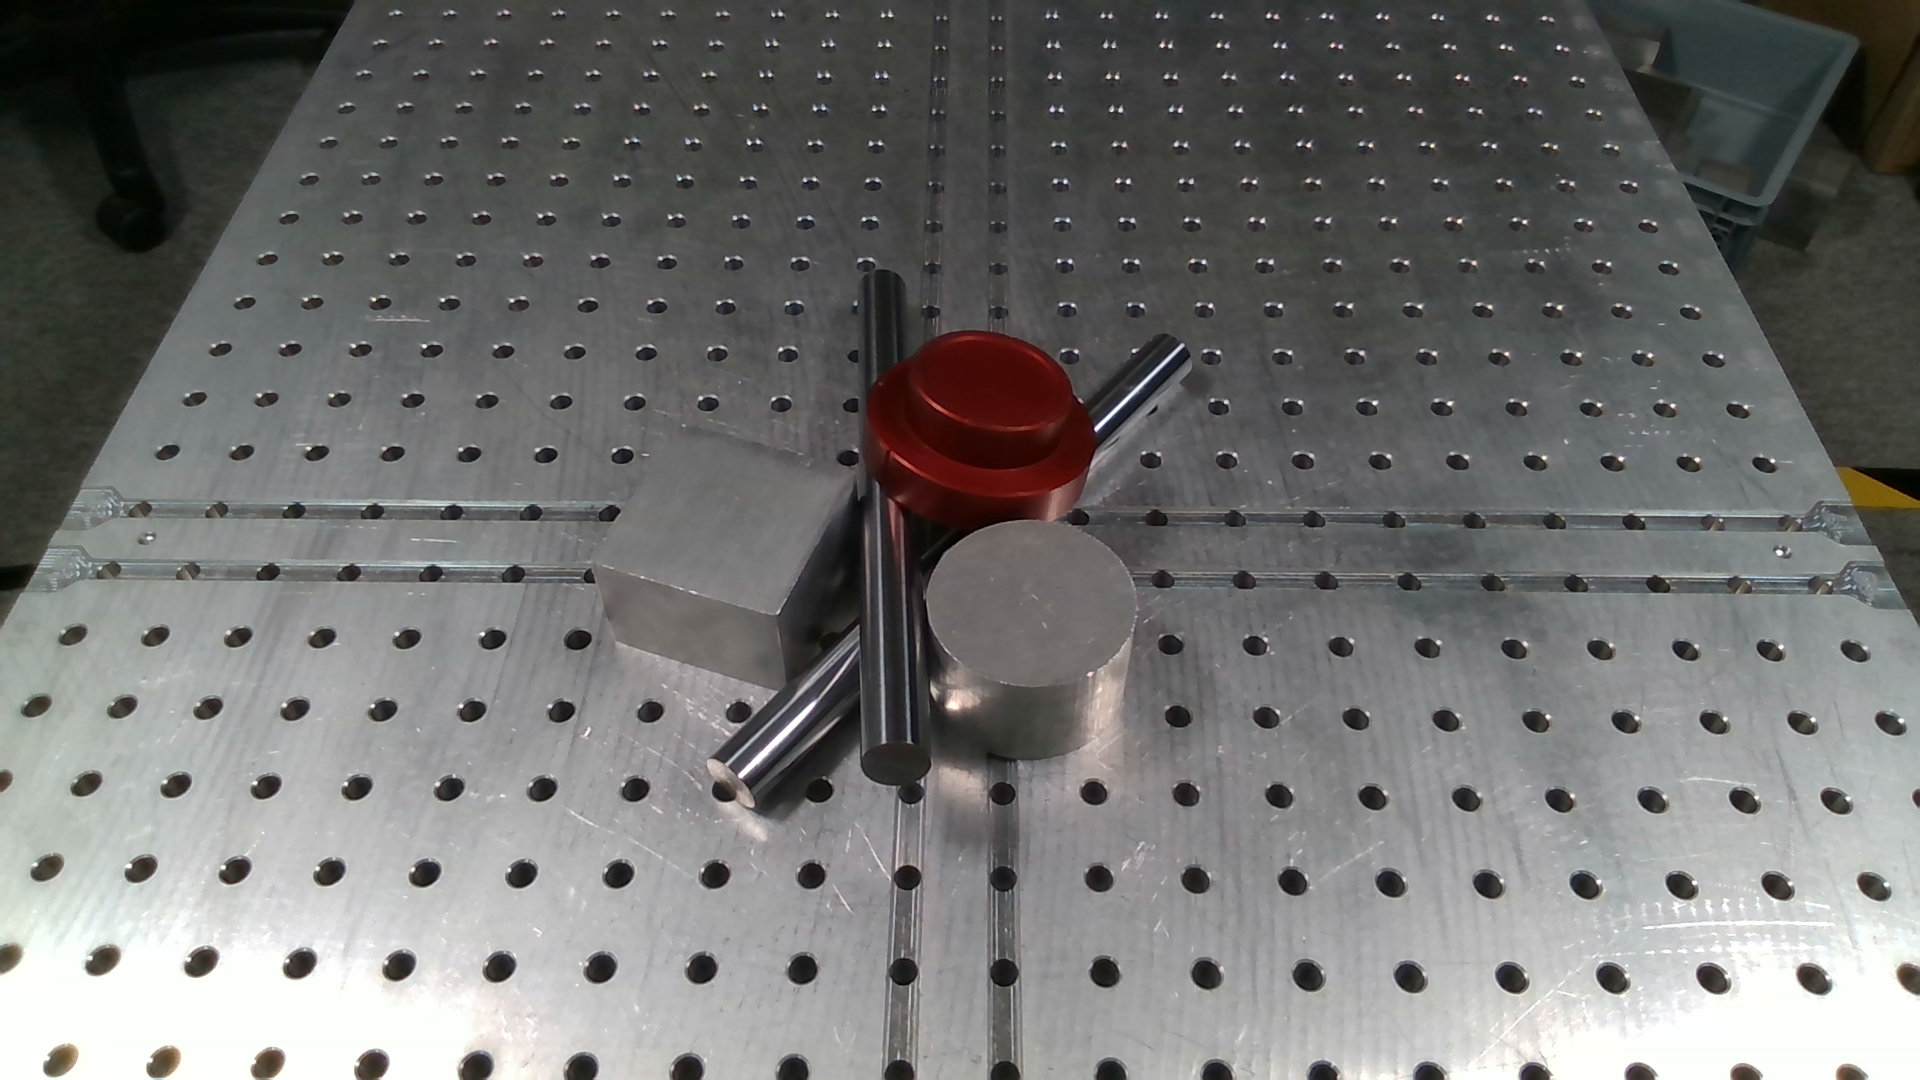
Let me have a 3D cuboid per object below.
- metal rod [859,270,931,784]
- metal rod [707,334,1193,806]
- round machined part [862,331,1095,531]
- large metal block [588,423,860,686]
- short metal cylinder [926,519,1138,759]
[{"bbox_3d":[-0.031,-0.024,0.586,0.025,0.025,0.299,-3,43,-2],"label":"metal rod"},{"bbox_3d":[0.008,0.001,0.590,0.025,0.025,0.299,32,57,24],"label":"metal rod"},{"bbox_3d":[0.009,-0.051,0.577,0.098,0.042,0.098,6,44,-6],"label":"round machined part"},{"bbox_3d":[-0.093,0.006,0.566,0.080,0.050,0.080,16,52,13],"label":"large metal block"},{"bbox_3d":[0.027,0.038,0.541,0.080,0.050,0.080,0,50,0],"label":"short metal cylinder"}]
